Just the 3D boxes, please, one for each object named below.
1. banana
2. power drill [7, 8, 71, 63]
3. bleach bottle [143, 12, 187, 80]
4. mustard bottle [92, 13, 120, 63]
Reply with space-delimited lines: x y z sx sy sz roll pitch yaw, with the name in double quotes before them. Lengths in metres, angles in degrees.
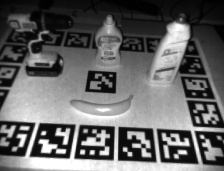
"banana" -0.032 0.043 0.666 0.198 0.039 0.074 -3 53 -4
"power drill" -0.209 -0.156 0.687 0.185 0.188 0.057 -4 51 -3
"bleach bottle" 0.170 -0.124 0.696 0.102 0.252 0.068 9 50 3
"mustard bottle" -0.020 -0.163 0.751 0.096 0.192 0.058 -3 51 -9
